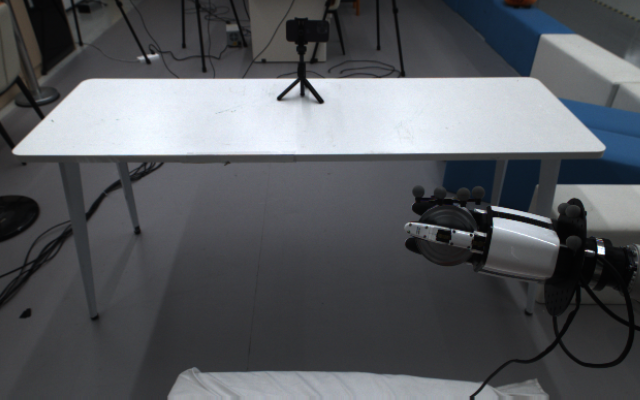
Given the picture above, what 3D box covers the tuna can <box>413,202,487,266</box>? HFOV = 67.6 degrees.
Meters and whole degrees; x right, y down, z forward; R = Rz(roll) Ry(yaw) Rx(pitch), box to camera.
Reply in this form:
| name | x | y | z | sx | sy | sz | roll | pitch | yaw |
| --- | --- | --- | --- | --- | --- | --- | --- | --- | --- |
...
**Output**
| name | x | y | z | sx | sy | sz | roll | pitch | yaw |
| --- | --- | --- | --- | --- | --- | --- | --- | --- | --- |
| tuna can | 0.178 | 0.046 | 0.675 | 0.085 | 0.085 | 0.034 | 13 | 7 | 15 |
